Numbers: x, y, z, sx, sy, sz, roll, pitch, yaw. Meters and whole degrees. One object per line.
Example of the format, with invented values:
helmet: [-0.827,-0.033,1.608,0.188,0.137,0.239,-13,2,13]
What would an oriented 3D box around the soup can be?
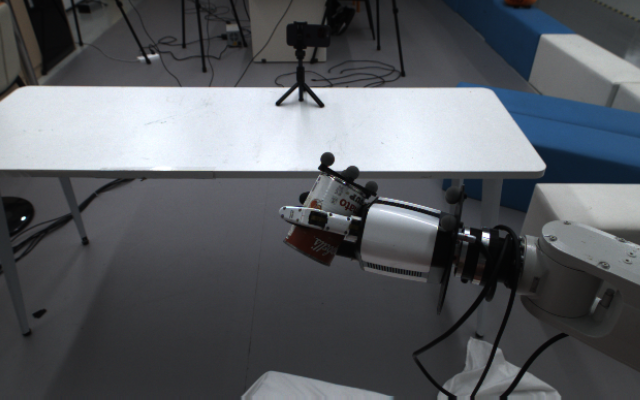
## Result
soup can: [0.008,0.024,0.613,0.067,0.101,0.067,28,-3,2]
